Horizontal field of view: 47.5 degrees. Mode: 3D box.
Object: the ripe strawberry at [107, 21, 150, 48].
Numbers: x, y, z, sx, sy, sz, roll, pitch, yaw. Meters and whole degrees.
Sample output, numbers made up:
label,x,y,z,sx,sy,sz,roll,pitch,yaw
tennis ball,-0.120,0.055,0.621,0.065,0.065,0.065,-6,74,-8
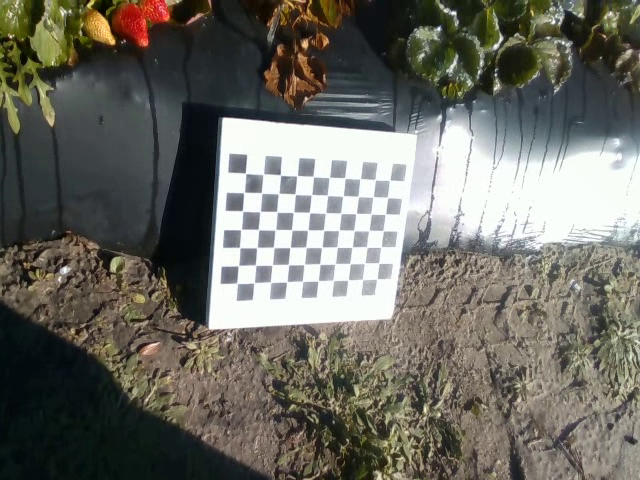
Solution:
label,x,y,z,sx,sy,sz,roll,pitch,yaw
ripe strawberry,-0.188,-0.215,0.745,0.036,0.052,0.040,-39,-9,-15
